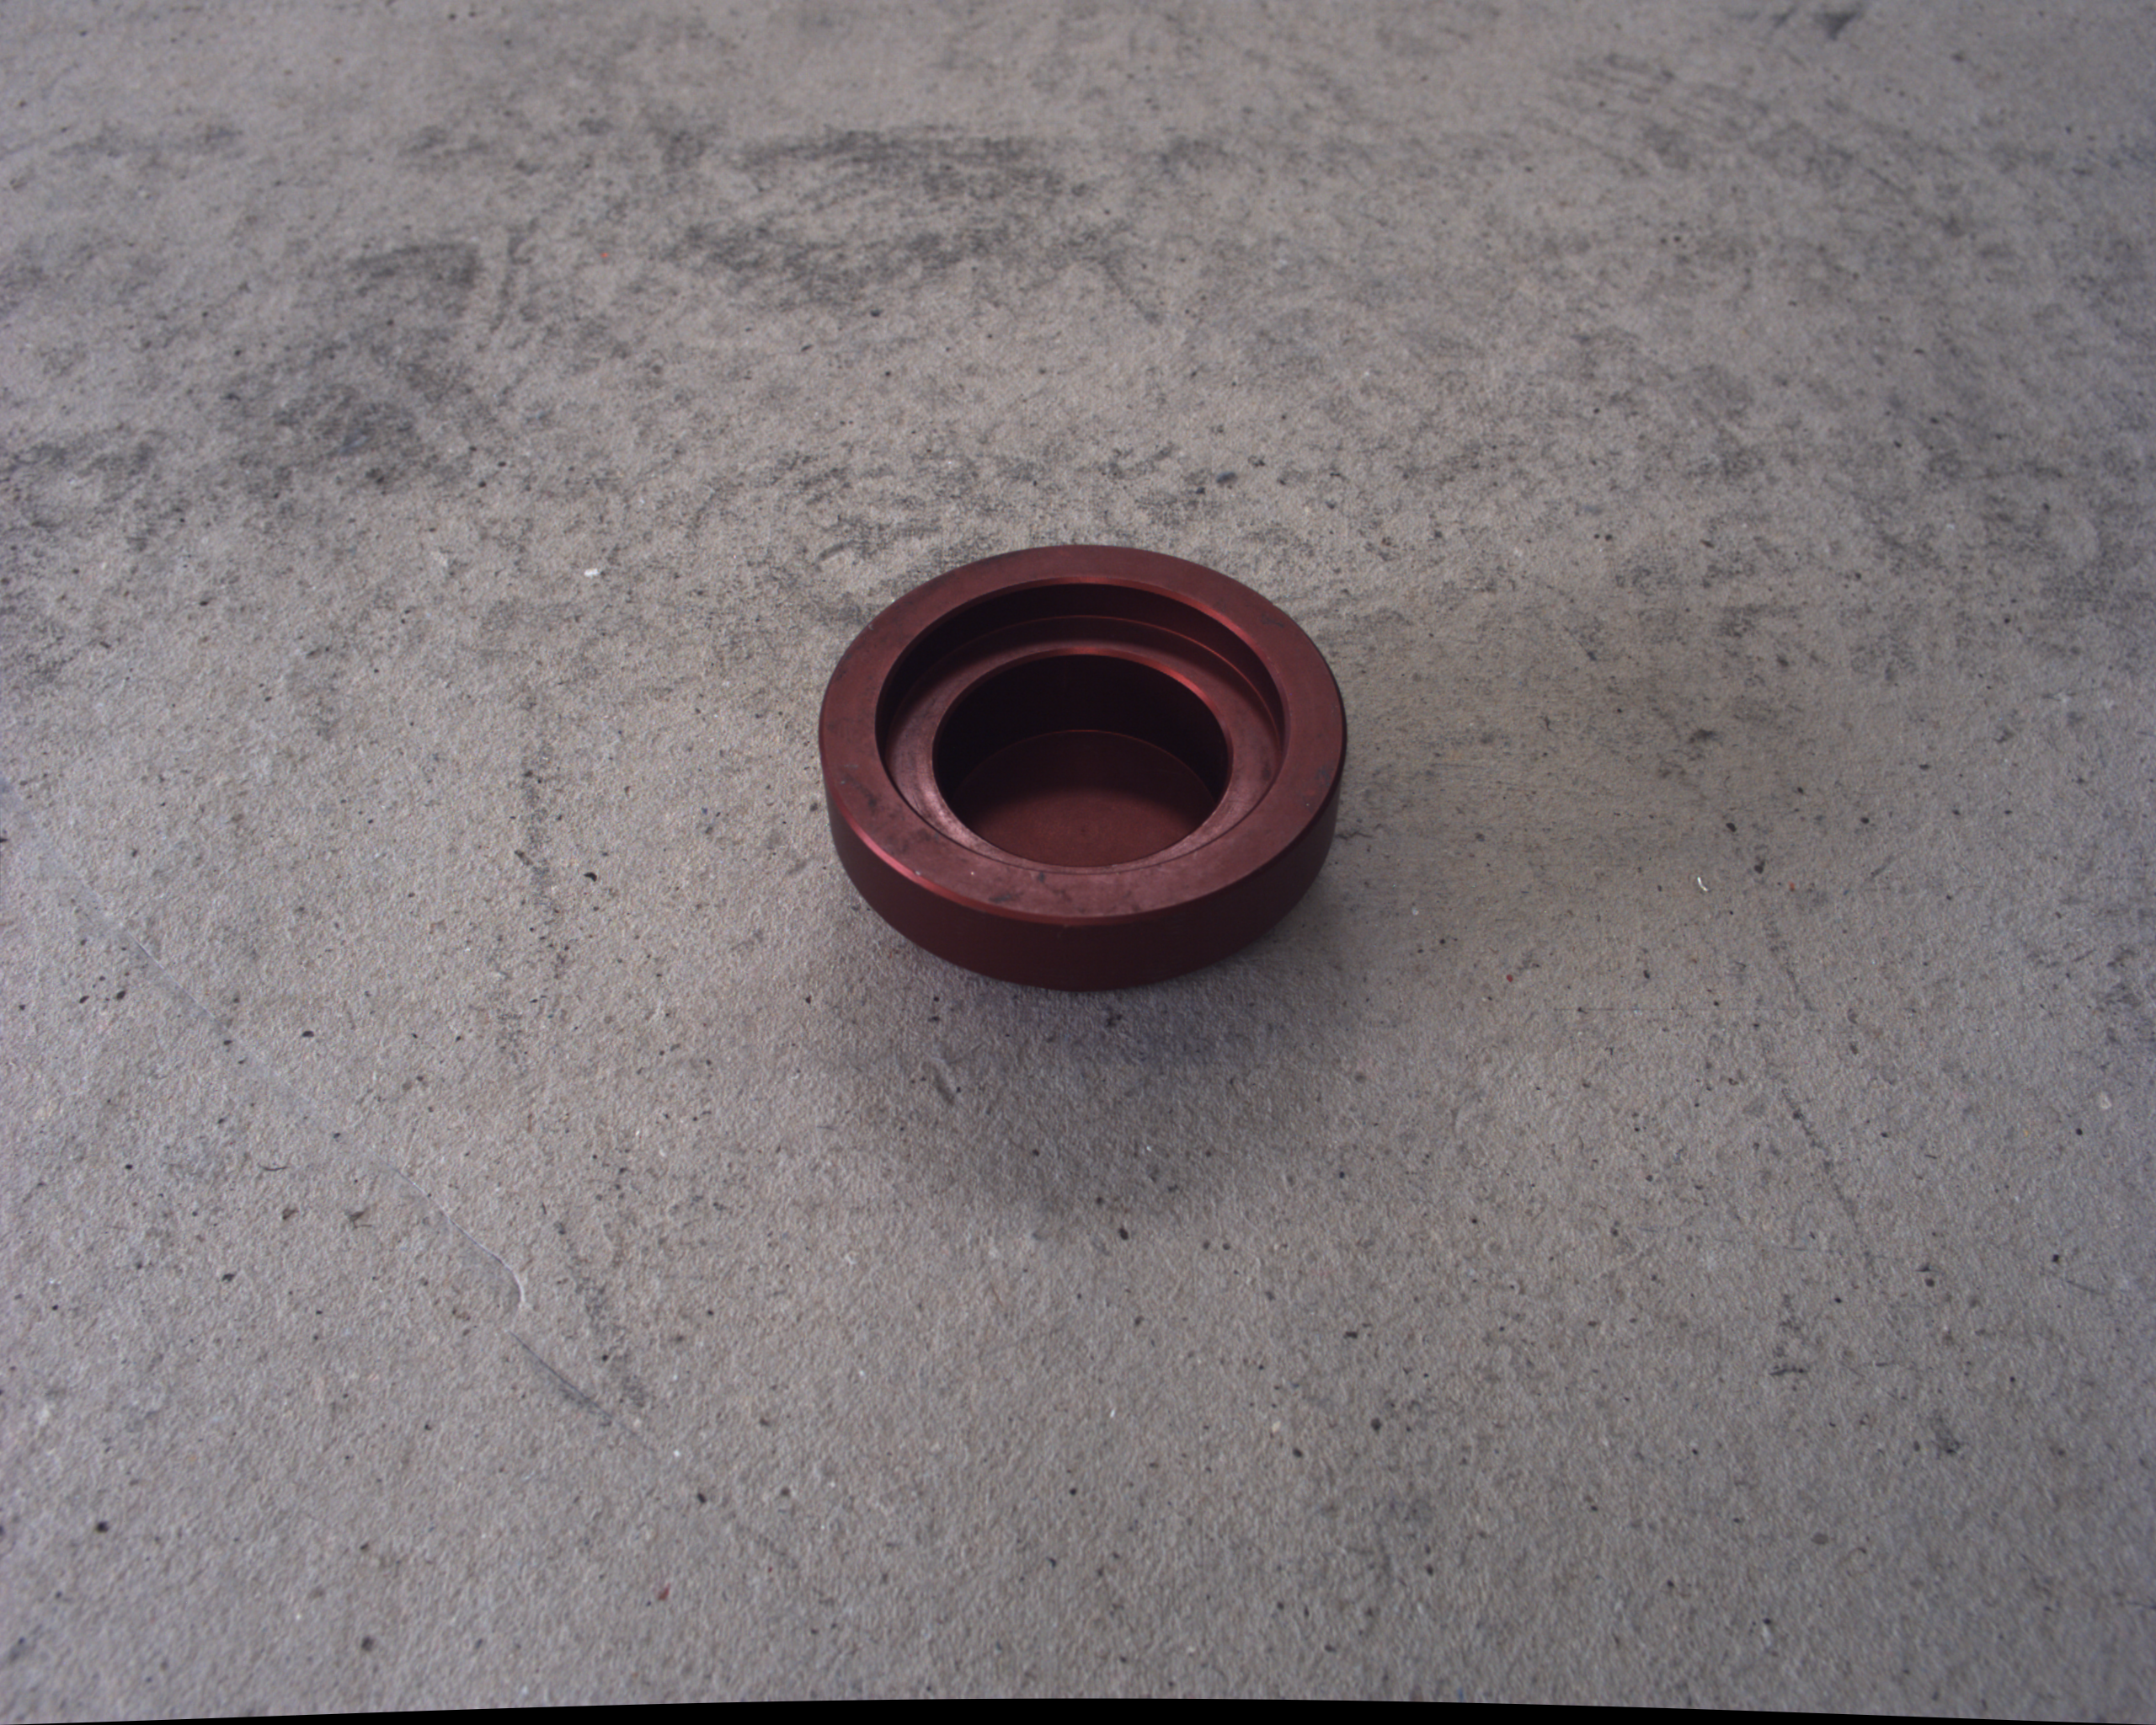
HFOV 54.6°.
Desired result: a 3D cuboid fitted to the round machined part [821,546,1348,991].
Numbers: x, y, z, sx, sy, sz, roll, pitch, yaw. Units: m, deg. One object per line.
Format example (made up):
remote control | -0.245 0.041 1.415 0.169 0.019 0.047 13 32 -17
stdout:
round machined part | 0.001 -0.014 0.406 0.099 0.042 0.098 0 50 0
